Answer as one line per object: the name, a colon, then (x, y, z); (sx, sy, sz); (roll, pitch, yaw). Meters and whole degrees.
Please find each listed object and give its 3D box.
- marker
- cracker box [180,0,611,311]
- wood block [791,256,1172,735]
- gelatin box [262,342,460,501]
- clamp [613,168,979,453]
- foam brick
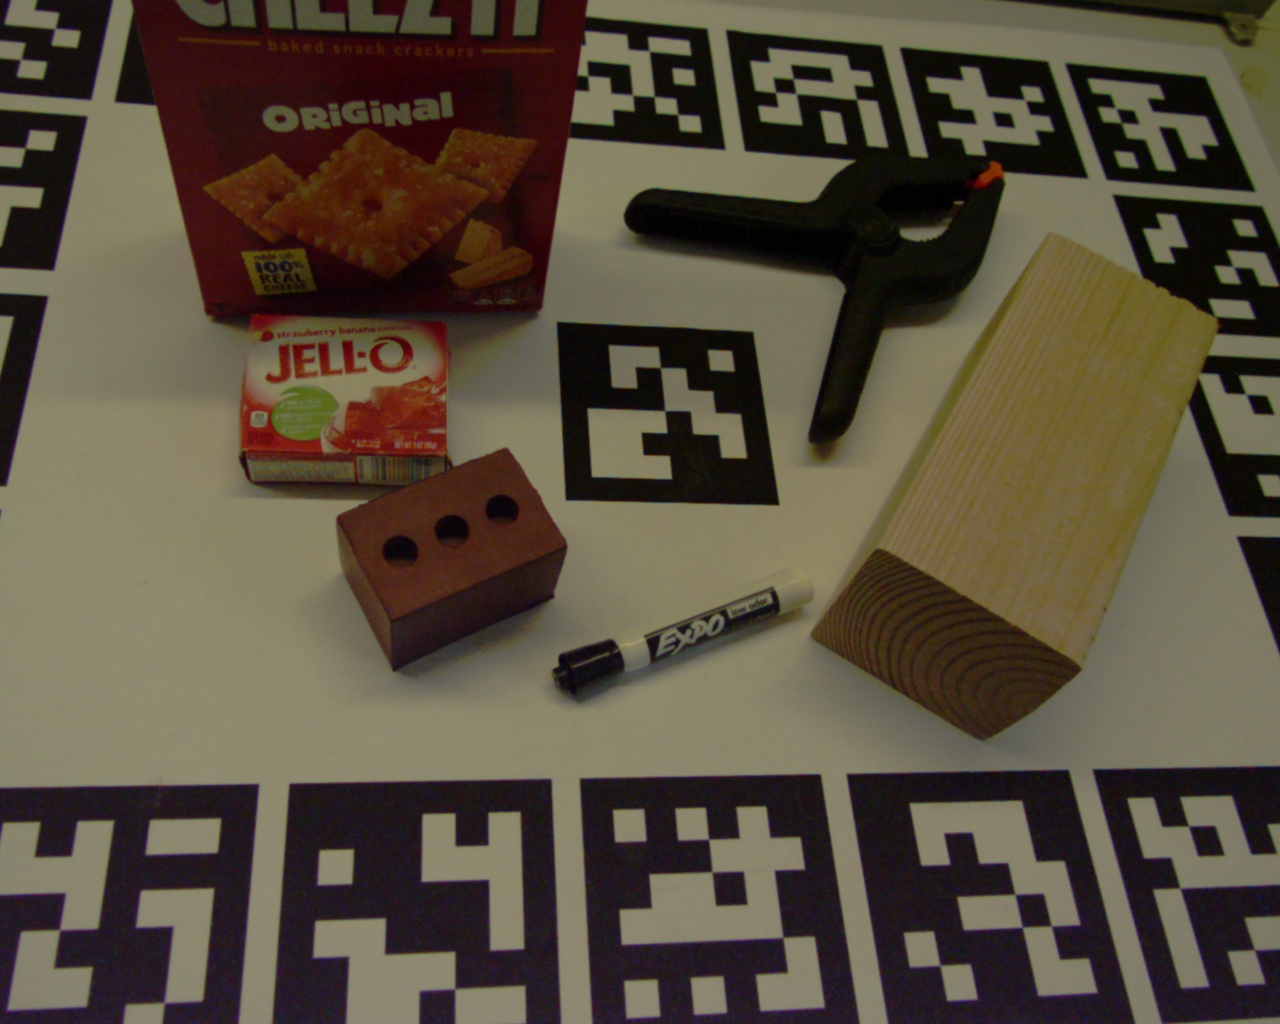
marker: (0.005, 0.058, 0.514); (0.120, 0.020, 0.020); (-19, 70, -18)
cracker box: (-0.108, -0.178, 0.503); (0.163, 0.214, 0.072); (-2, 62, -14)
wood block: (0.164, -0.013, 0.545); (0.090, 0.091, 0.205); (30, 59, 8)
gelatin box: (-0.132, -0.044, 0.542); (0.089, 0.030, 0.073); (-1, 65, -10)
clamp: (0.110, -0.137, 0.626); (0.201, 0.037, 0.166); (-30, 72, -22)
foam brick: (-0.083, 0.023, 0.500); (0.077, 0.051, 0.053); (-23, 71, -20)
